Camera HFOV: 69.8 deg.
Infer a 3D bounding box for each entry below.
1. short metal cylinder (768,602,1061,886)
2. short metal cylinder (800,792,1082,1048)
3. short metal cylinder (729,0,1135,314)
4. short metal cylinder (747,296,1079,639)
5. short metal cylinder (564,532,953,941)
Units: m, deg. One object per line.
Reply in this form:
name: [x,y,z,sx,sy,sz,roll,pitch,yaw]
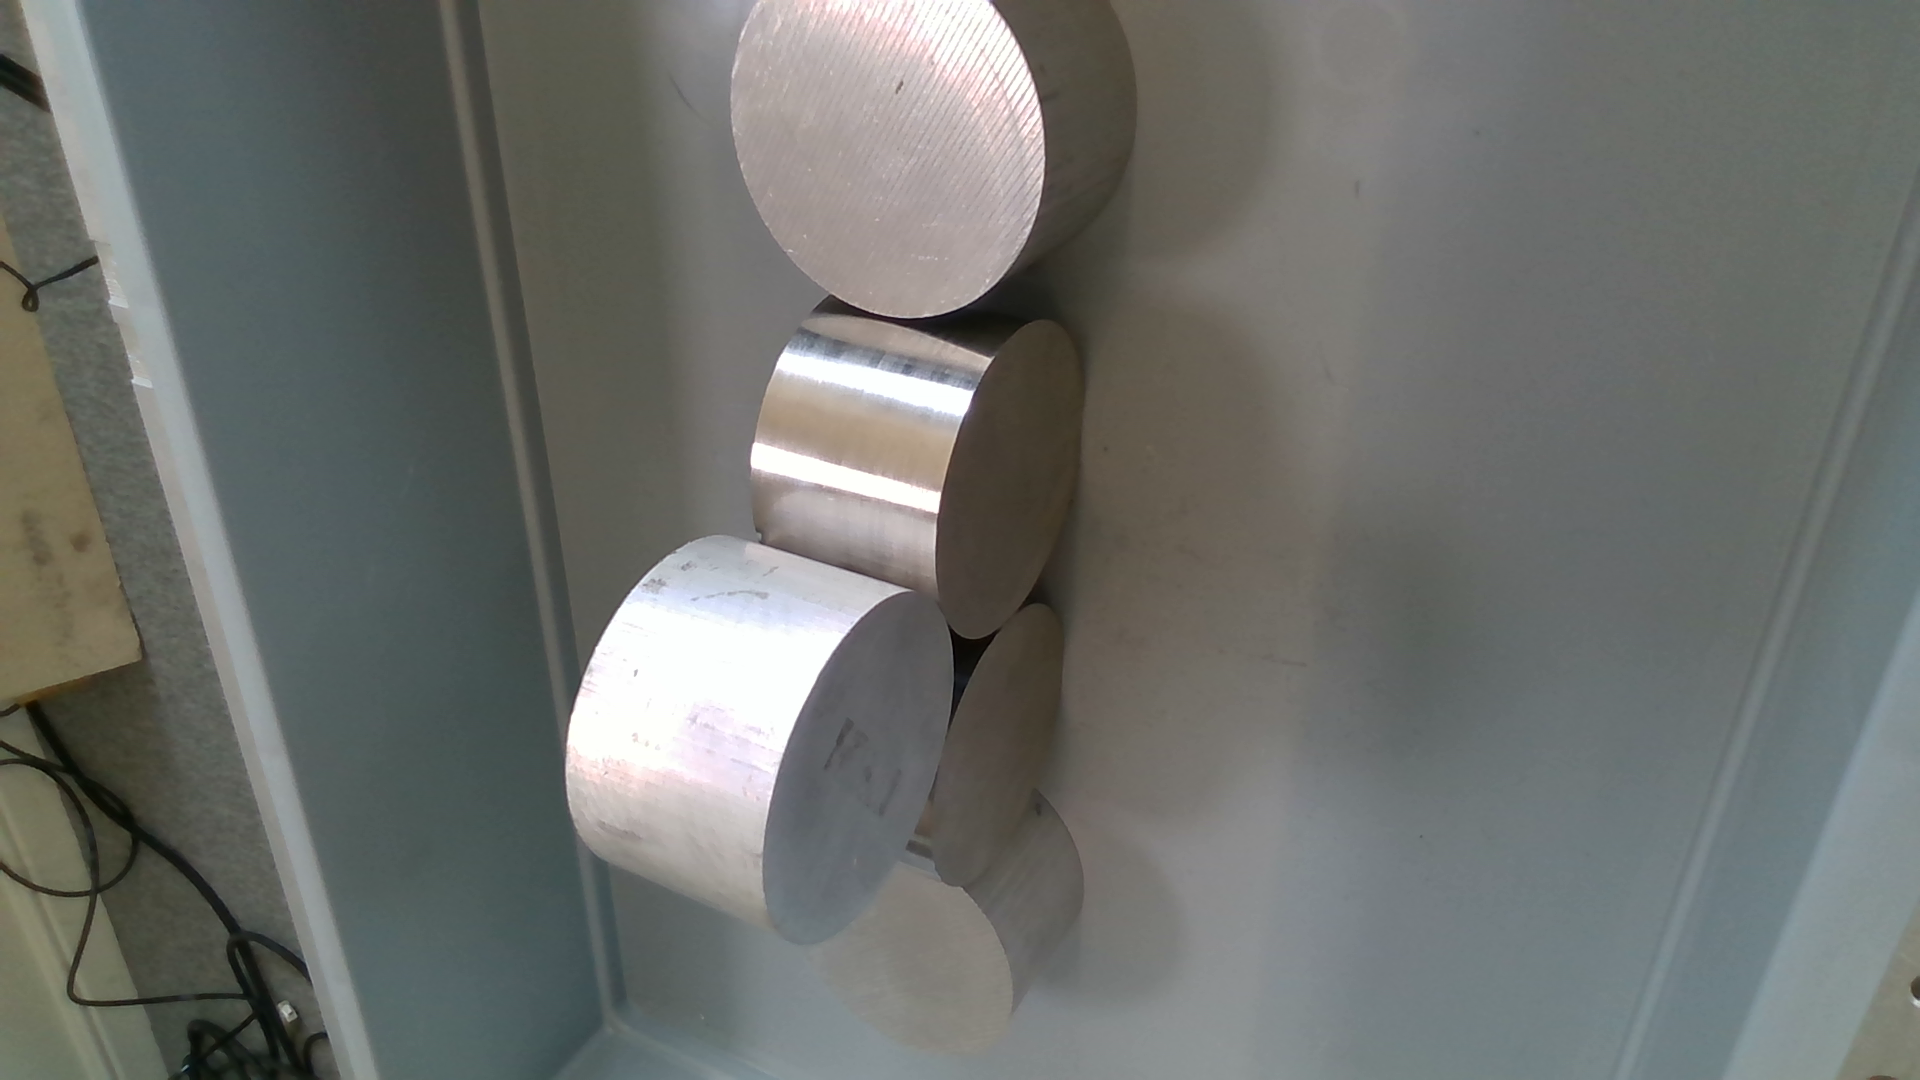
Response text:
short metal cylinder: [-0.011,0.050,0.386,0.050,0.080,0.080,16,122,24]
short metal cylinder: [-0.008,0.112,0.438,0.080,0.050,0.080,15,122,25]
short metal cylinder: [-0.006,-0.099,0.321,0.080,0.050,0.080,15,122,25]
short metal cylinder: [-0.009,-0.020,0.346,0.050,0.080,0.080,16,122,24]
short metal cylinder: [-0.043,0.043,0.313,0.050,0.080,0.080,16,122,24]
